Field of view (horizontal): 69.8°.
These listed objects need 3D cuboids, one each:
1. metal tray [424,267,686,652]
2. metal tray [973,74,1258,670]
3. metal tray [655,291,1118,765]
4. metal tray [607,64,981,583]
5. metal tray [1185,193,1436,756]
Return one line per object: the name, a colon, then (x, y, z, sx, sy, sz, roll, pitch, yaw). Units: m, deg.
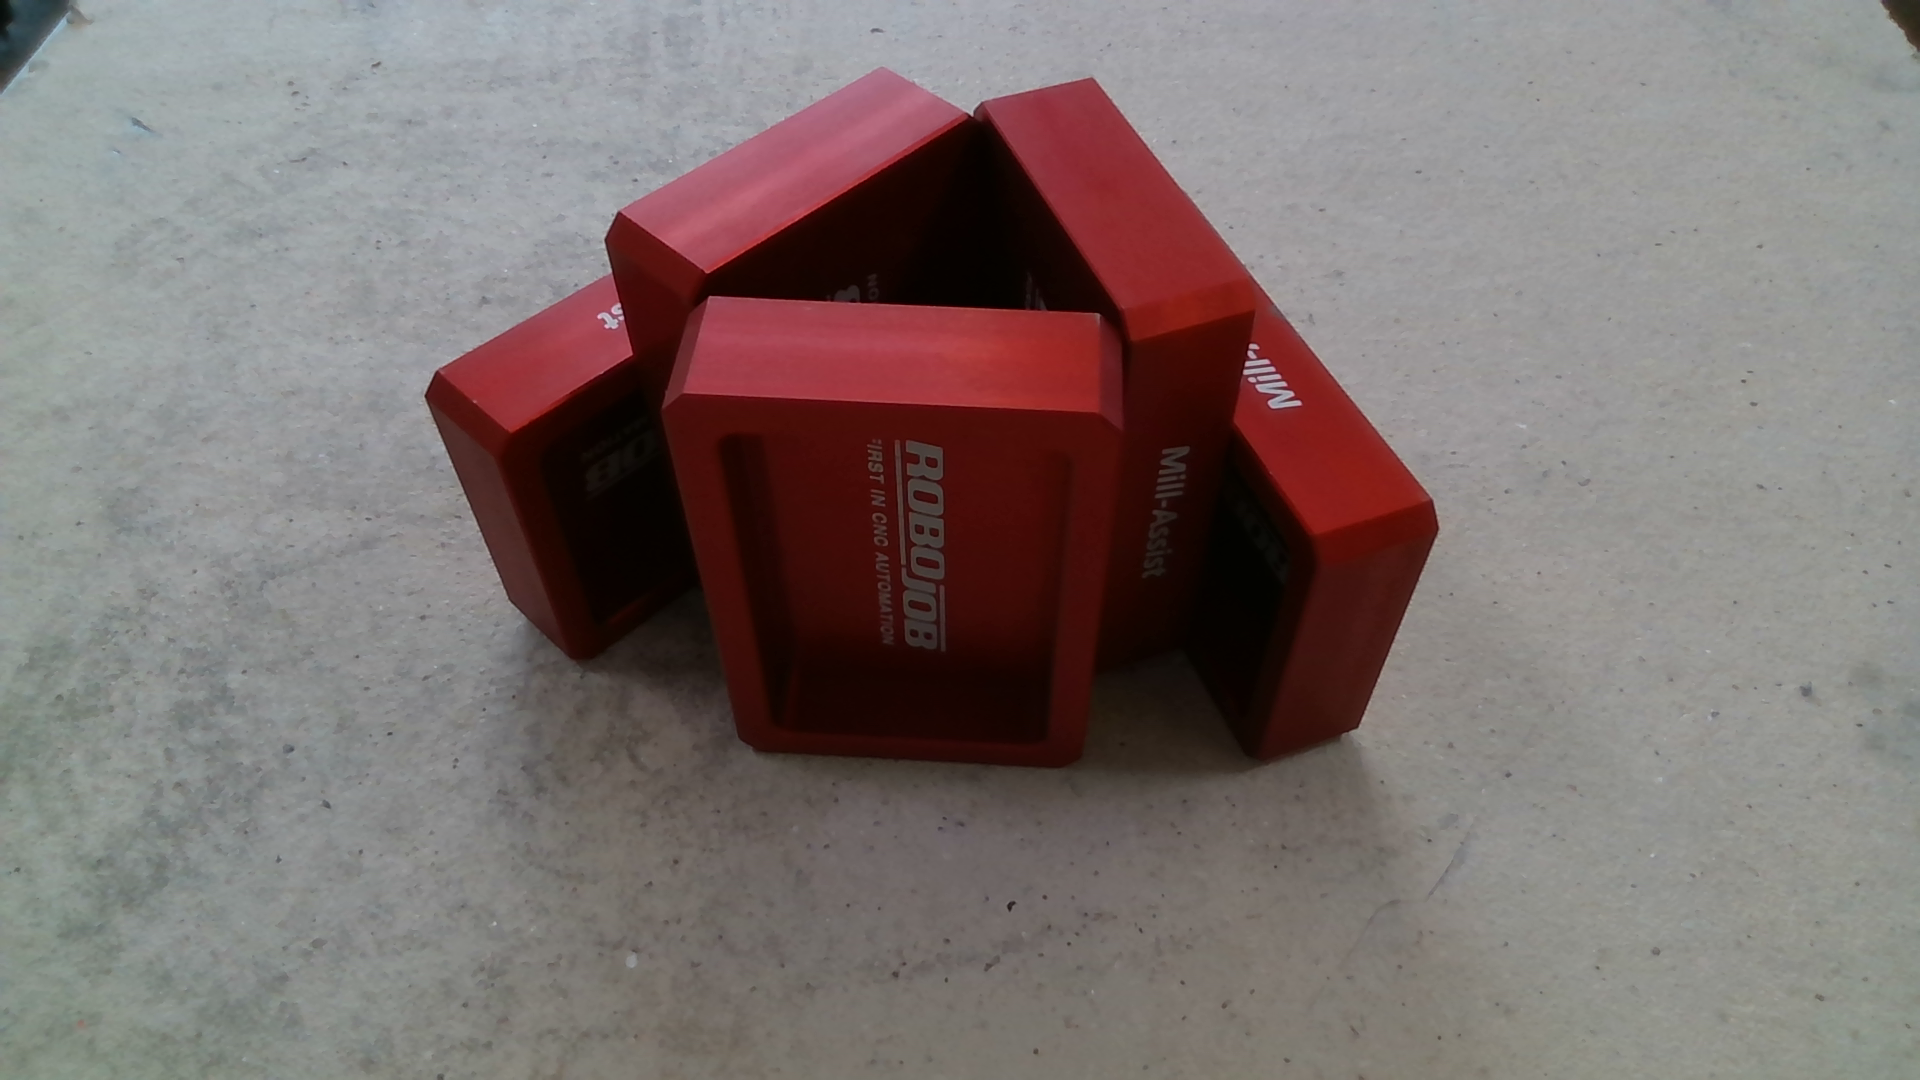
metal tray: (-0.072, -0.039, 0.382, 0.030, 0.090, 0.130, 36, 59, 27)
metal tray: (0.033, -0.039, 0.357, 0.030, 0.130, 0.090, -16, 52, -13)
metal tray: (-0.013, 0.004, 0.321, 0.090, 0.130, 0.030, 3, 50, 3)
metal tray: (-0.036, -0.045, 0.362, 0.030, 0.130, 0.090, 36, 59, 26)
metal tray: (0.068, -0.020, 0.367, 0.030, 0.090, 0.130, -16, 52, -13)
